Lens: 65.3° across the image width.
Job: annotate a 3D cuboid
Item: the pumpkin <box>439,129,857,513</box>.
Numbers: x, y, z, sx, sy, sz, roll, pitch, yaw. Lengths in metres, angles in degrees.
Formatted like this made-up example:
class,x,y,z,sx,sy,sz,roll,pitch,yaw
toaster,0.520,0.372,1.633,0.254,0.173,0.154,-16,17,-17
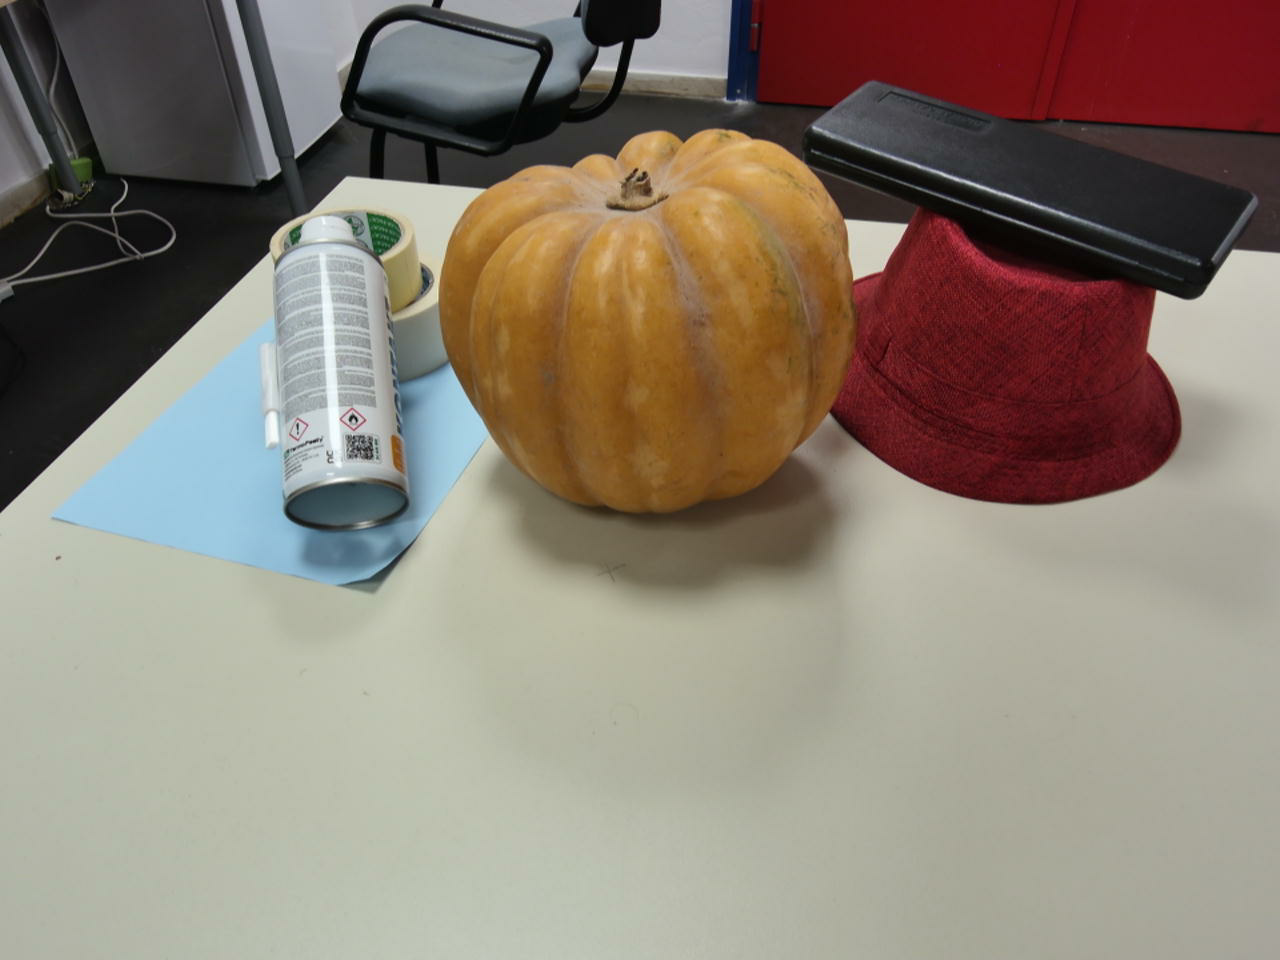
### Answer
class,x,y,z,sx,sy,sz,roll,pitch,yaw
pumpkin,0.008,-0.087,0.558,0.230,0.194,0.230,0,39,0
